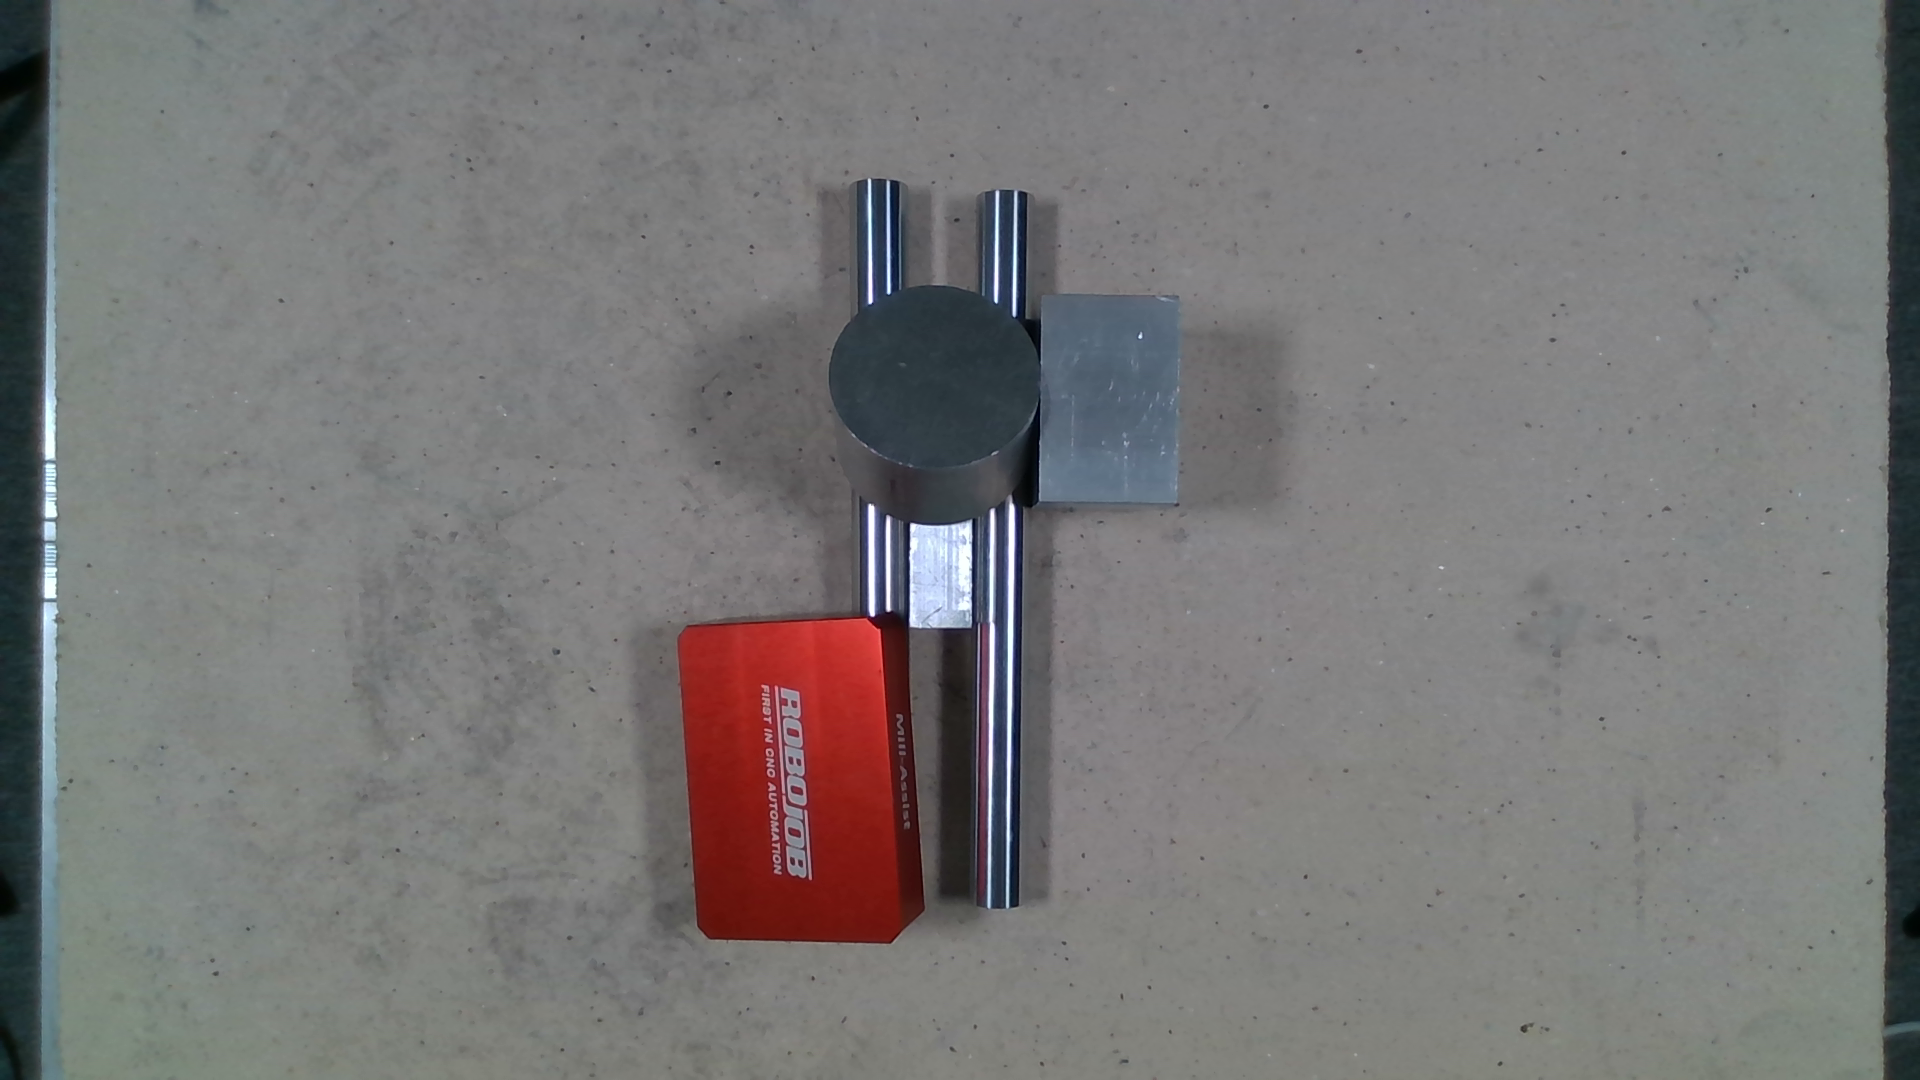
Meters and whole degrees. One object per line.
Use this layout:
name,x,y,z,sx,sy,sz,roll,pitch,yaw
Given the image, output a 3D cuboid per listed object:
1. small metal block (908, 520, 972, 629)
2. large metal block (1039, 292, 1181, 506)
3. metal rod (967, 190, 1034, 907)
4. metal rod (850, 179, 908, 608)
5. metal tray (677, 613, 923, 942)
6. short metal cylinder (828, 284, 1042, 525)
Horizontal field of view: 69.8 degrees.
small metal block,-0.008,0.010,0.574,0.025,0.050,0.050,1,90,0
large metal block,0.058,-0.053,0.560,0.050,0.080,0.080,1,90,0
metal rod,0.017,0.004,0.587,0.025,0.025,0.300,1,91,0
metal rod,-0.034,-0.001,0.587,0.025,0.025,0.300,0,91,0
metal tray,-0.066,0.097,0.571,0.090,0.030,0.130,-3,92,18
short metal cylinder,-0.010,-0.052,0.539,0.080,0.050,0.080,1,66,-2
